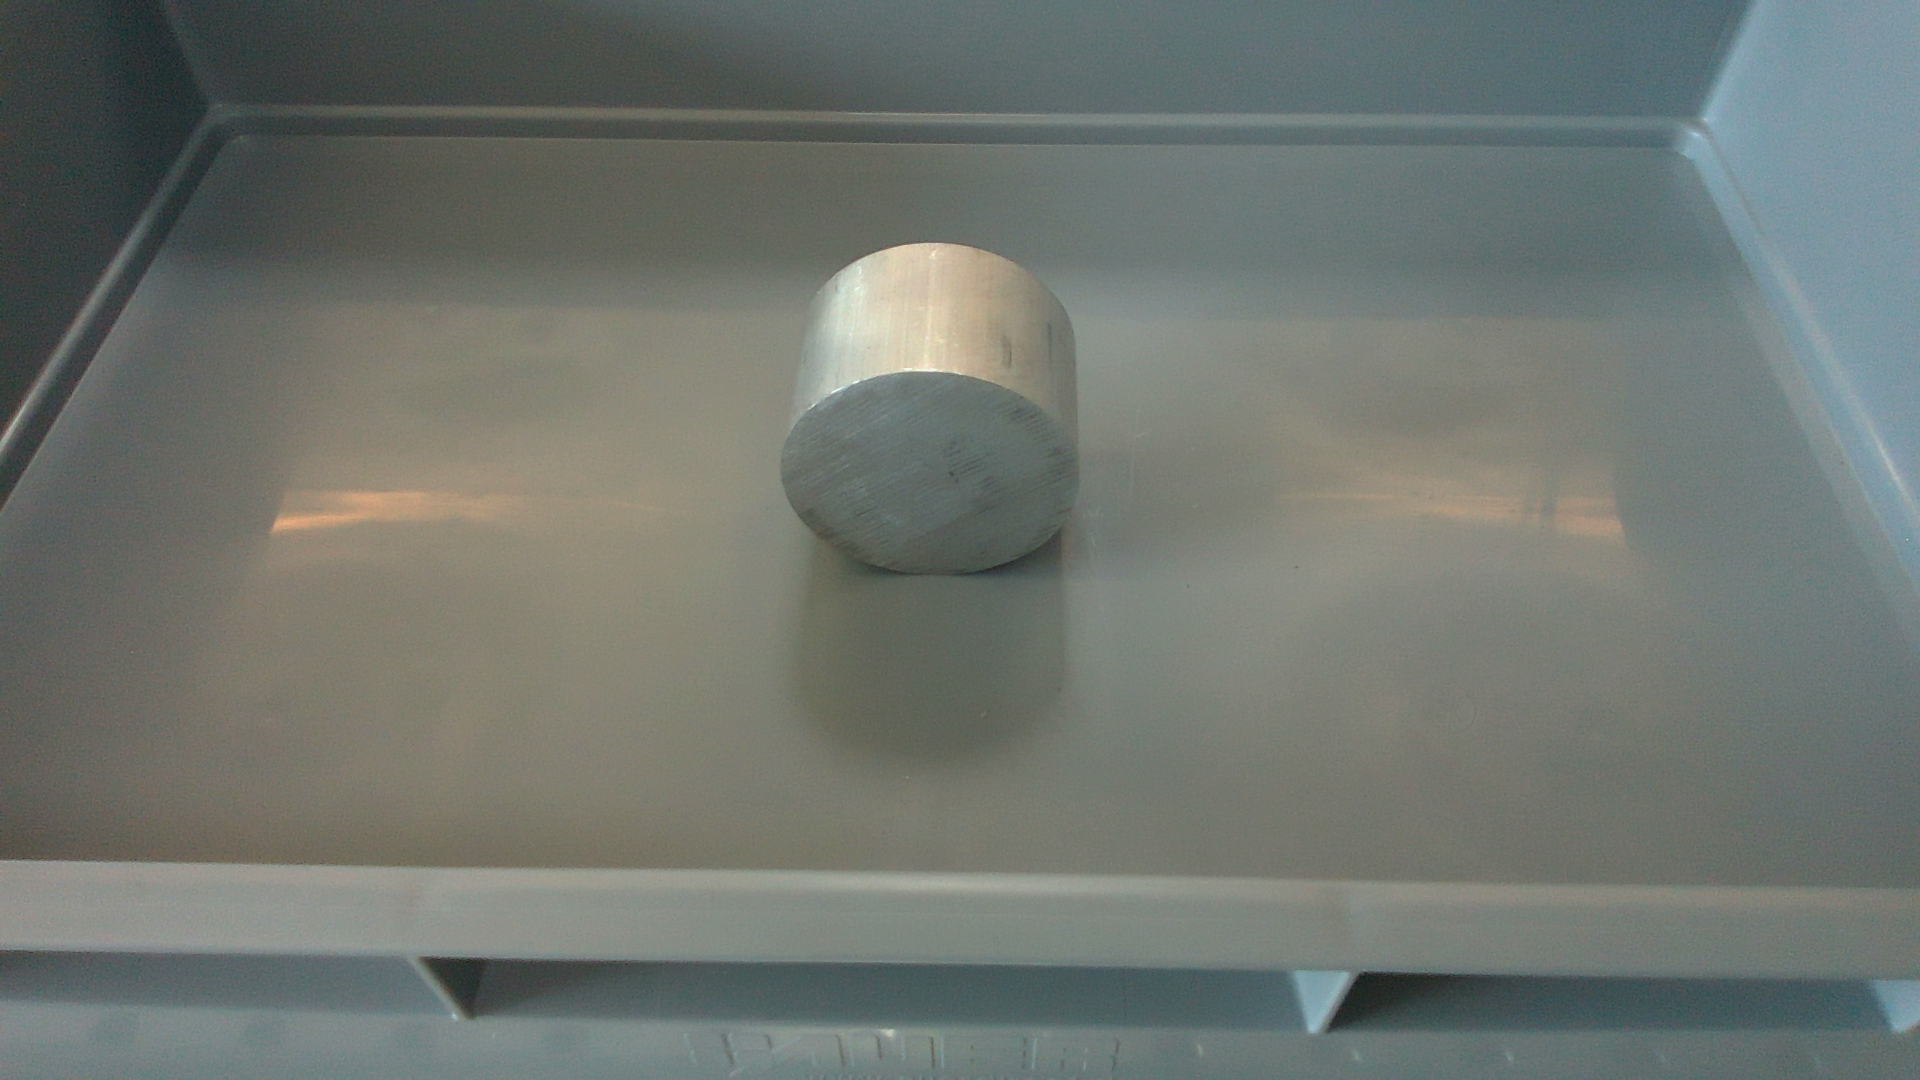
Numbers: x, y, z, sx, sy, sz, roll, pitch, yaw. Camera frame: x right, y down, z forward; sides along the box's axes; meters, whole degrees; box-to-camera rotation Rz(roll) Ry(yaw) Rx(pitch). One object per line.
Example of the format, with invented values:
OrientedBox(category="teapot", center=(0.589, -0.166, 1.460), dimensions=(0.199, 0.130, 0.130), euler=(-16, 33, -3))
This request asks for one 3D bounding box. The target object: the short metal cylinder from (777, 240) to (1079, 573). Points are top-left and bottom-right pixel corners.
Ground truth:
OrientedBox(category="short metal cylinder", center=(-0.008, -0.035, 0.382), dimensions=(0.080, 0.080, 0.050), euler=(1, 50, 1))
